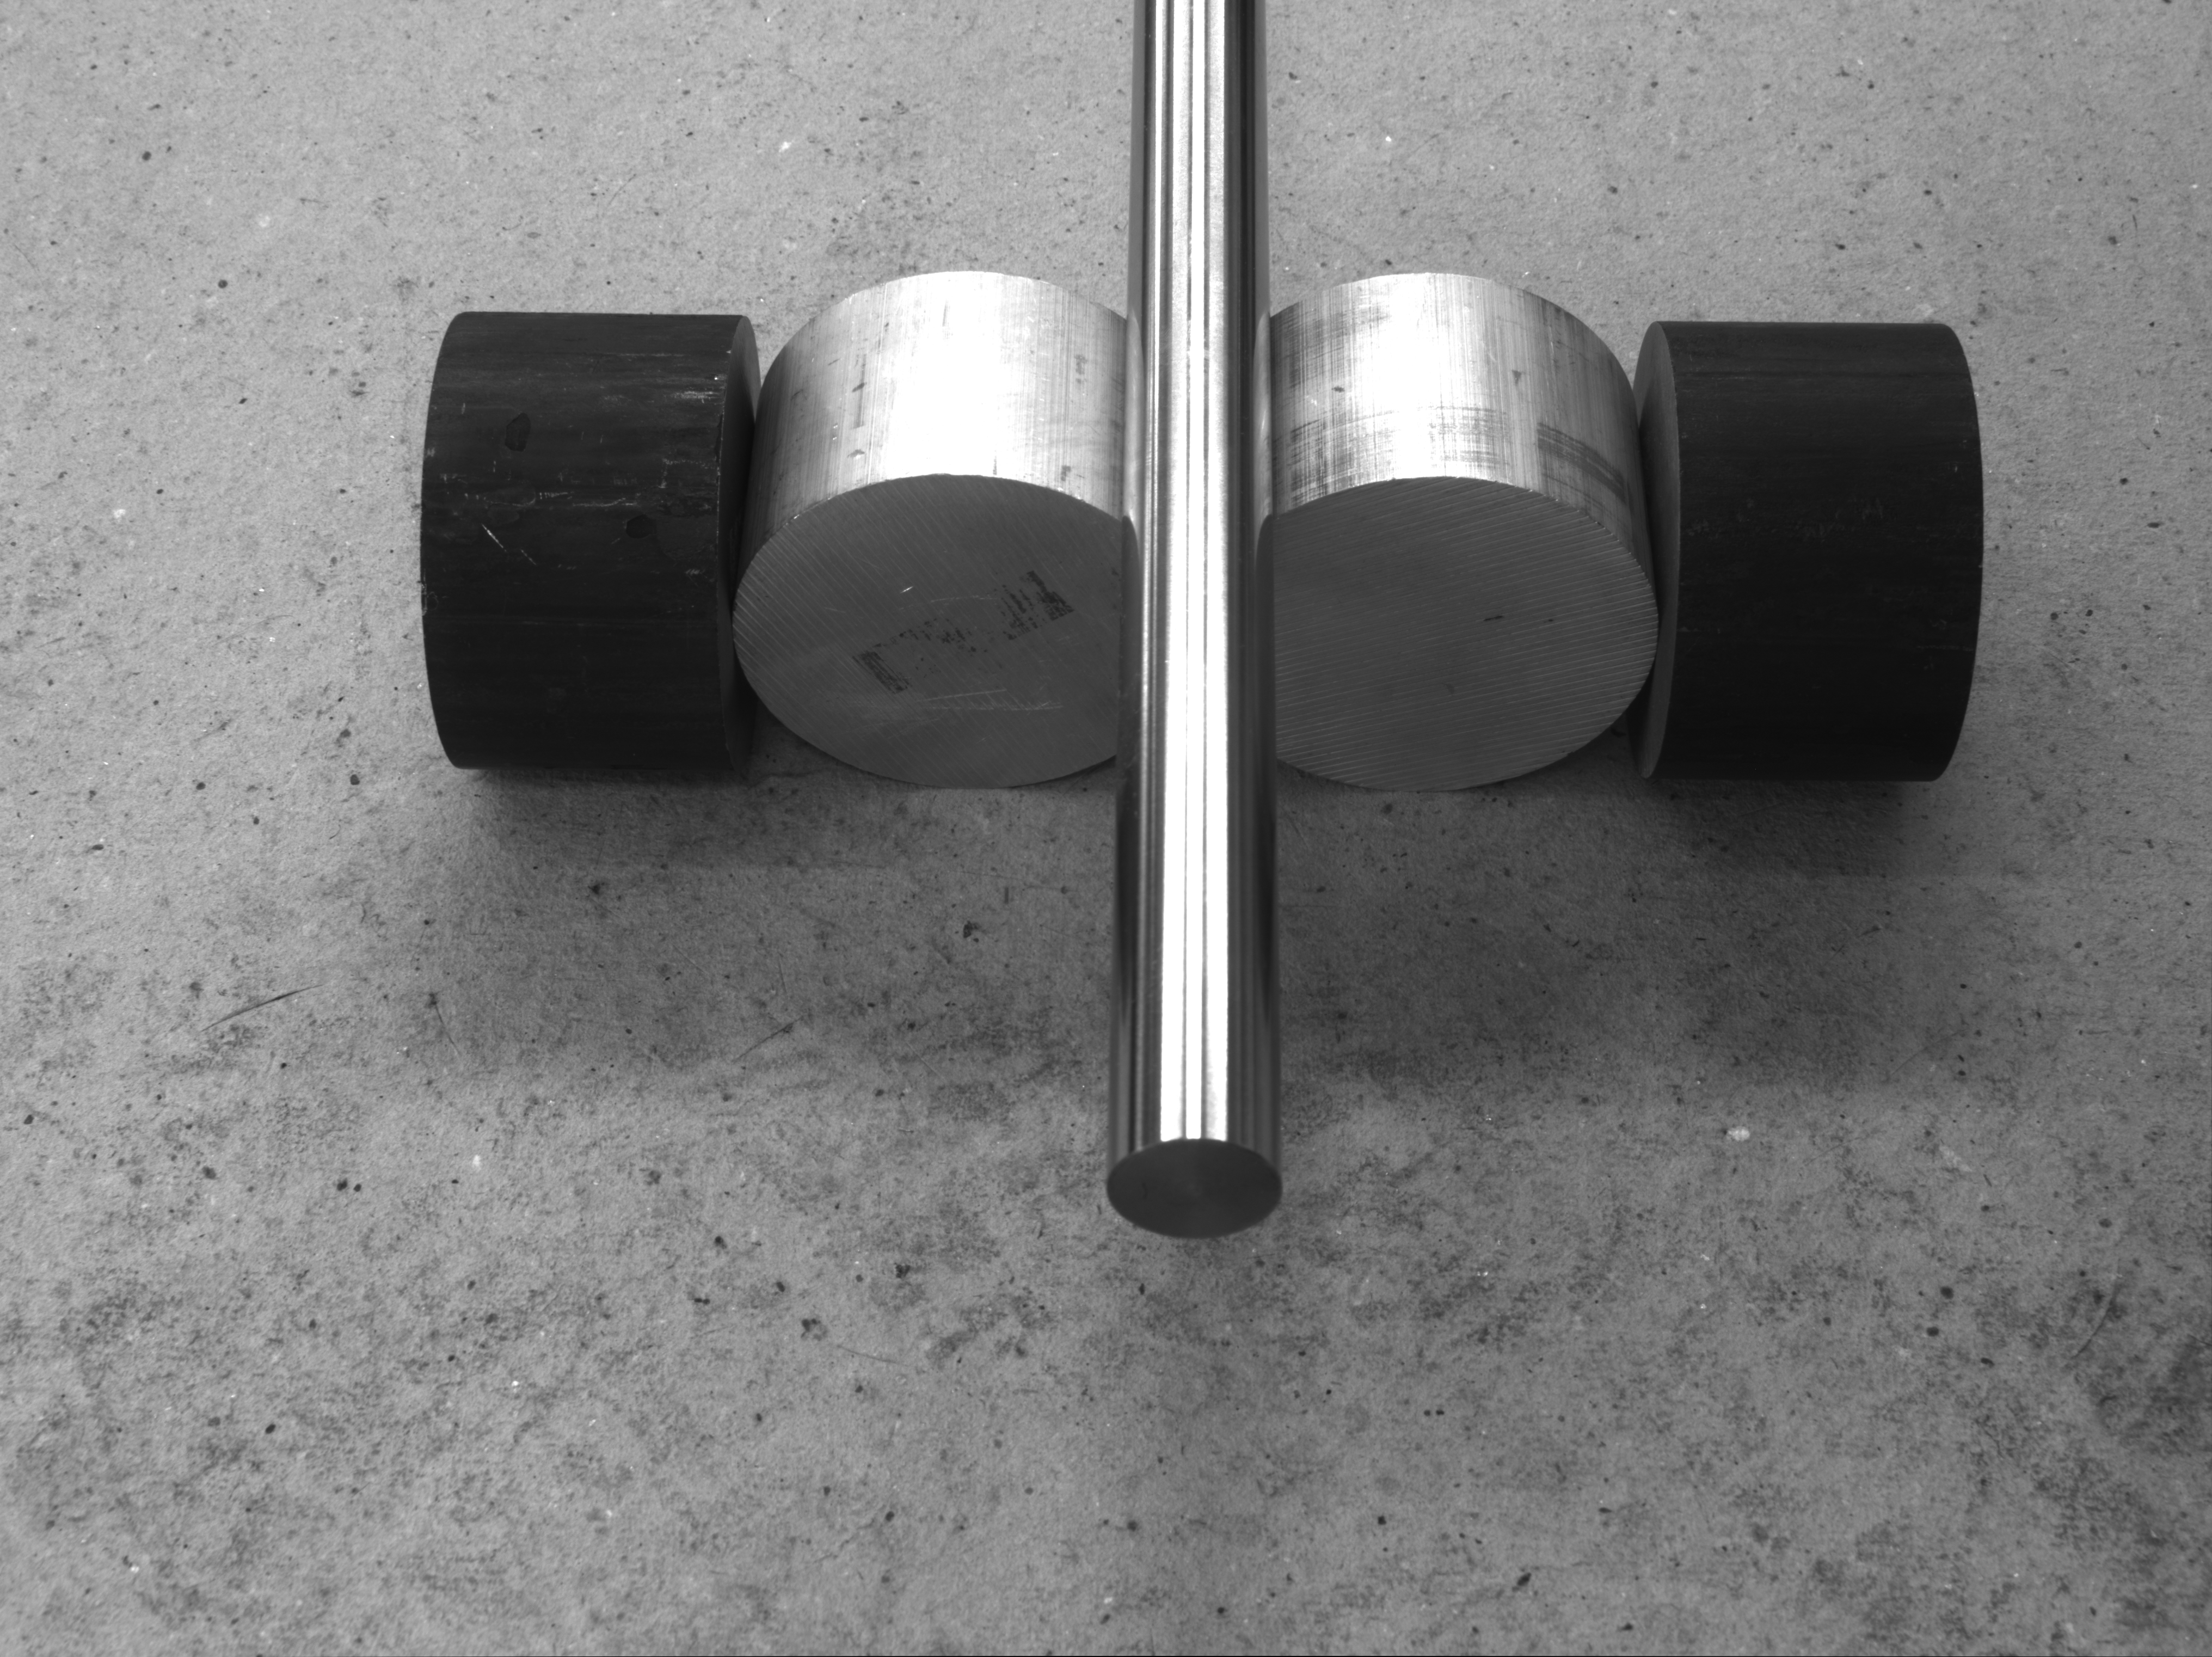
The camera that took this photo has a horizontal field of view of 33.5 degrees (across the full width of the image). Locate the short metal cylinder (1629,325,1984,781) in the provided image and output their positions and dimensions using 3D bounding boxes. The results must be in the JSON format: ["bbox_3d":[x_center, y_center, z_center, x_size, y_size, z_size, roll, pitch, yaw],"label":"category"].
[{"bbox_3d":[0.121,-0.048,0.648,0.050,0.080,0.080,1,50,1],"label":"short metal cylinder"}]

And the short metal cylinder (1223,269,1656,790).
[{"bbox_3d":[0.055,-0.052,0.650,0.080,0.080,0.050,1,50,1],"label":"short metal cylinder"}]

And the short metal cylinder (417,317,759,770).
[{"bbox_3d":[-0.089,-0.050,0.650,0.050,0.080,0.080,1,50,1],"label":"short metal cylinder"}]

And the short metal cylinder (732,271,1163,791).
[{"bbox_3d":[-0.024,-0.052,0.651,0.080,0.080,0.050,1,50,1],"label":"short metal cylinder"}]

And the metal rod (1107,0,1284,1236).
[{"bbox_3d":[0.015,-0.064,0.616,0.025,0.025,0.300,1,50,1],"label":"metal rod"}]
